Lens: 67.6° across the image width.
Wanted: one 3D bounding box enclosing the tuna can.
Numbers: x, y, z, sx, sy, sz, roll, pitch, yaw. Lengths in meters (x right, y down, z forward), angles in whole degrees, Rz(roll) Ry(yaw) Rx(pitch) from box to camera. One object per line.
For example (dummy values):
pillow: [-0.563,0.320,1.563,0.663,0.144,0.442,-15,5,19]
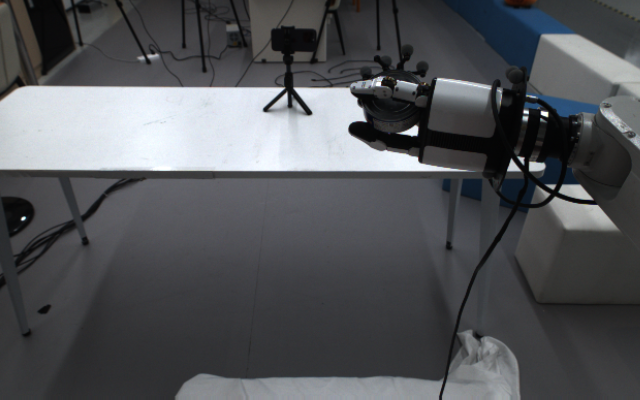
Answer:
tuna can: [0.099,-0.135,0.662,0.085,0.034,0.085,-6,61,10]
